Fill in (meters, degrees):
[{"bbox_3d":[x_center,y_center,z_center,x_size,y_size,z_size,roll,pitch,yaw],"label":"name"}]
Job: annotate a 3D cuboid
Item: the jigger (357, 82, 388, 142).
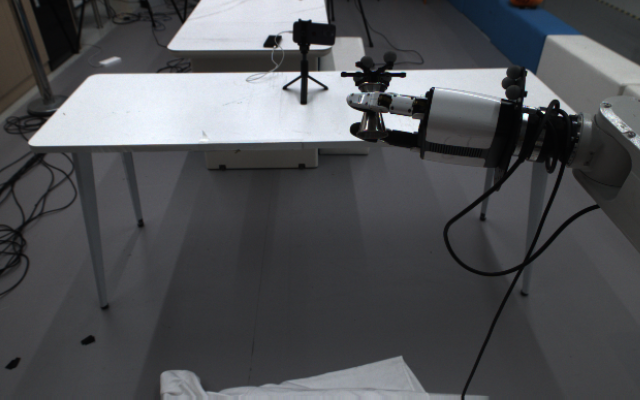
[{"bbox_3d":[0.070,-0.123,0.663,0.043,0.071,0.043,2,-6,0],"label":"jigger"}]
